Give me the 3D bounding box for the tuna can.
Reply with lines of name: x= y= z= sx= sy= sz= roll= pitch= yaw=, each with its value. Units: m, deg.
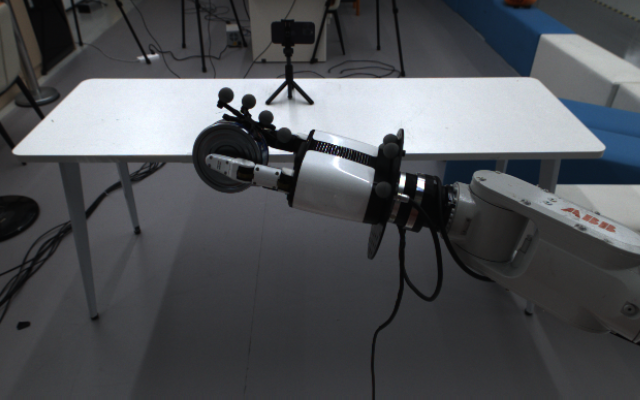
tuna can: x=-0.103 y=-0.046 z=0.572 sx=0.085 sy=0.085 sz=0.034 roll=7 pitch=19 yaw=6
